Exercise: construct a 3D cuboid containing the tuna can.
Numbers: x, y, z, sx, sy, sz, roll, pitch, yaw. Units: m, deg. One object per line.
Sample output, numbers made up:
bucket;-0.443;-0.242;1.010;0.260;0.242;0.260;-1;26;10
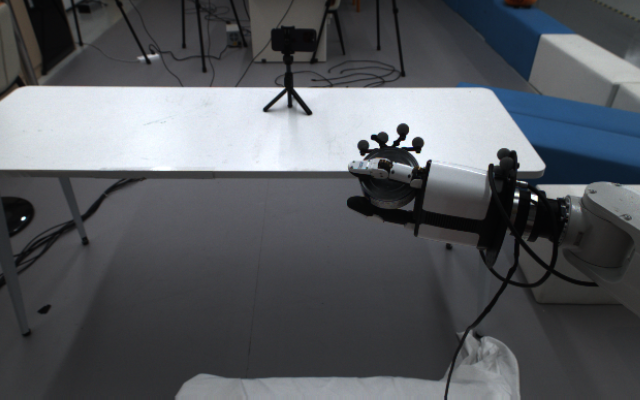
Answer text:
tuna can;0.098;-0.031;0.687;0.085;0.034;0.085;-6;61;10
